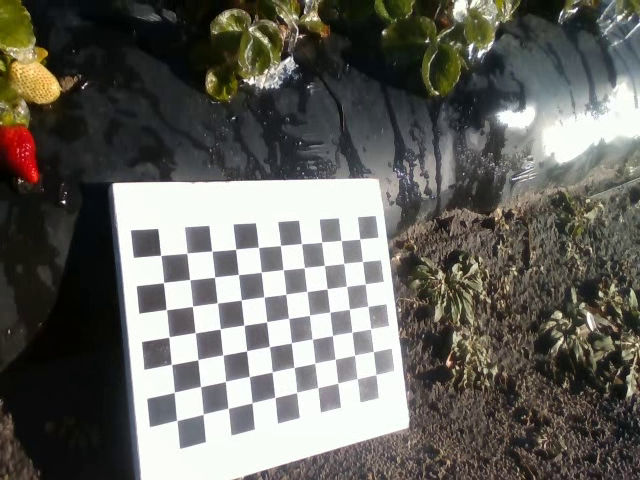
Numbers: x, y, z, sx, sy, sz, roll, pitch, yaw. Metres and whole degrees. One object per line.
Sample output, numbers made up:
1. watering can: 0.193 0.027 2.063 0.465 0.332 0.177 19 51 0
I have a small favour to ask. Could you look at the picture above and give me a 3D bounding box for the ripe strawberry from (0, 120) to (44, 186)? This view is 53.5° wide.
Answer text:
1. ripe strawberry: -0.236 -0.069 0.501 0.041 0.052 0.040 -25 -1 -33
